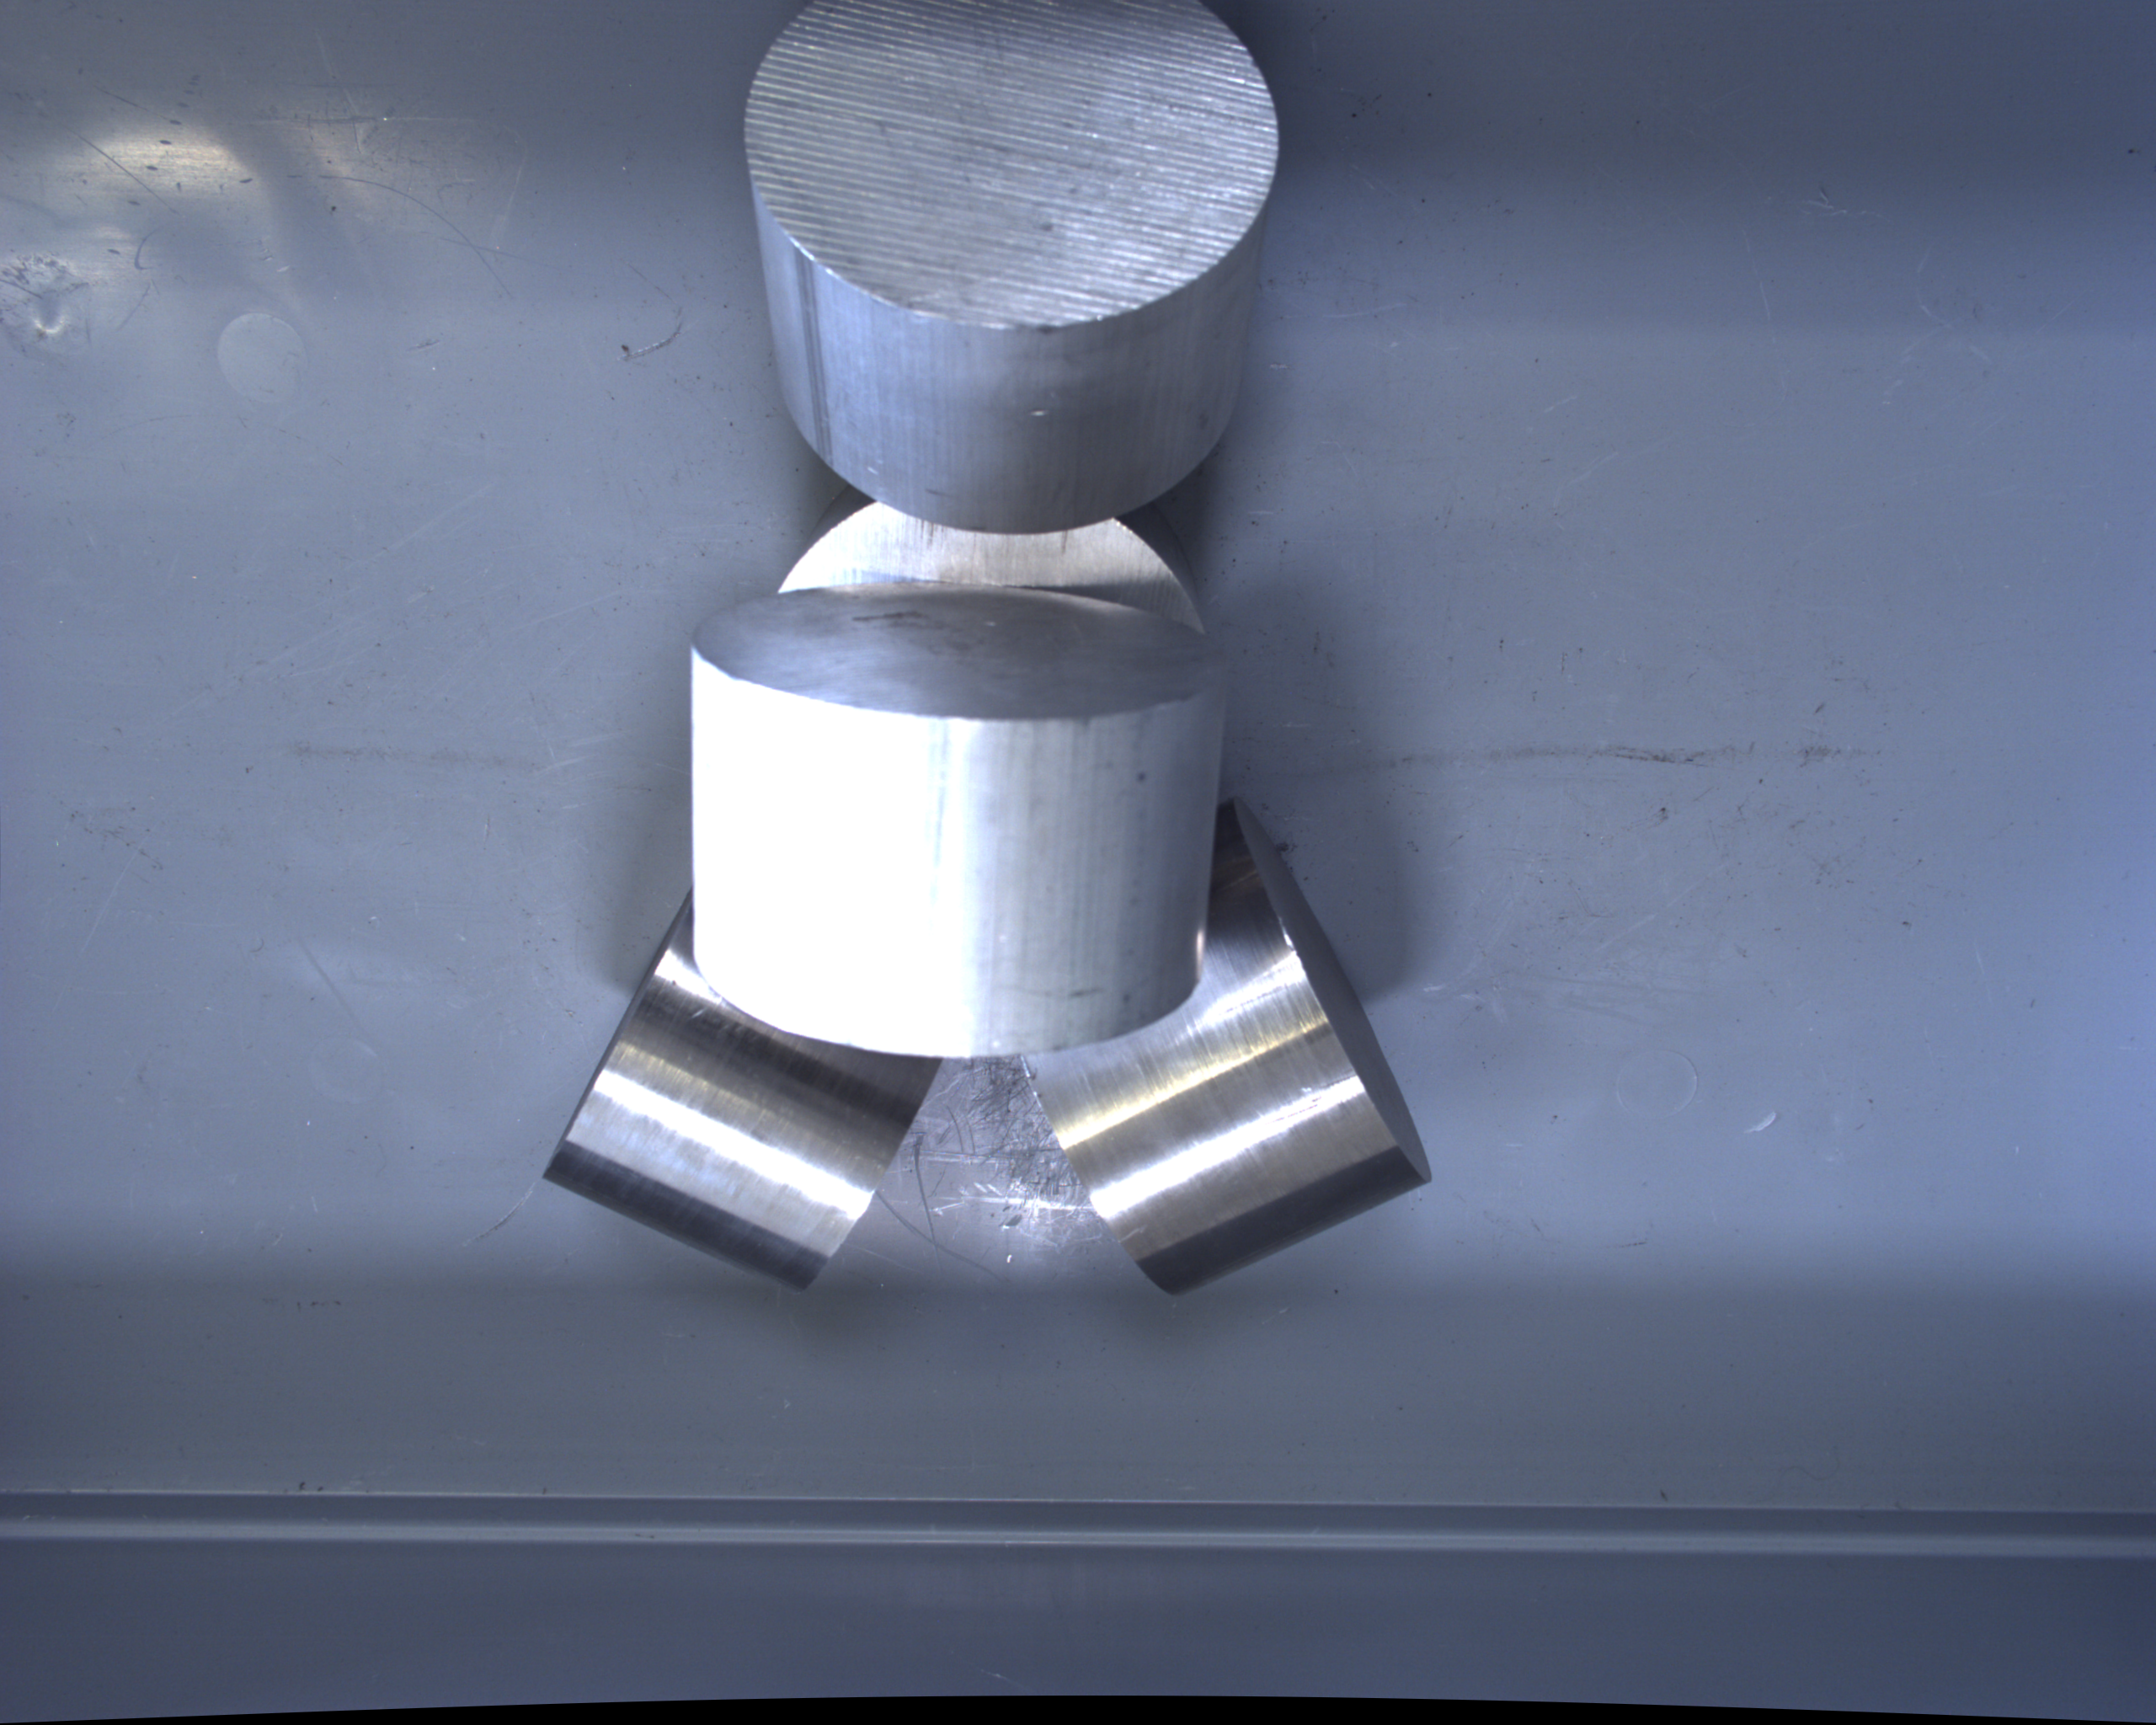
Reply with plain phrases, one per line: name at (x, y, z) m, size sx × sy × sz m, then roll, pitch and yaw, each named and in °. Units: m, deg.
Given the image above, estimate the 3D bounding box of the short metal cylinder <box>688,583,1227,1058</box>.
short metal cylinder at (-0.019, -0.010, 0.323) m, size 0.081 × 0.080 × 0.050 m, roll 3°, pitch 110°, yaw -1°

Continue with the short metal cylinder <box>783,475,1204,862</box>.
short metal cylinder at (-0.016, -0.035, 0.382) m, size 0.081 × 0.050 × 0.079 m, roll 0°, pitch 110°, yaw 0°

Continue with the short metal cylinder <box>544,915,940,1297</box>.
short metal cylinder at (-0.058, 0.034, 0.392) m, size 0.050 × 0.080 × 0.080 m, roll 28°, pitch 108°, yaw -9°

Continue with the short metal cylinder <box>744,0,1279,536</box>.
short metal cylinder at (-0.011, -0.100, 0.336) m, size 0.081 × 0.080 × 0.050 m, roll 4°, pitch 153°, yaw -2°

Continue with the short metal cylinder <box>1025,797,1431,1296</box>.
short metal cylinder at (0.026, 0.034, 0.393) m, size 0.050 × 0.080 × 0.080 m, roll -27°, pitch 108°, yaw 10°
